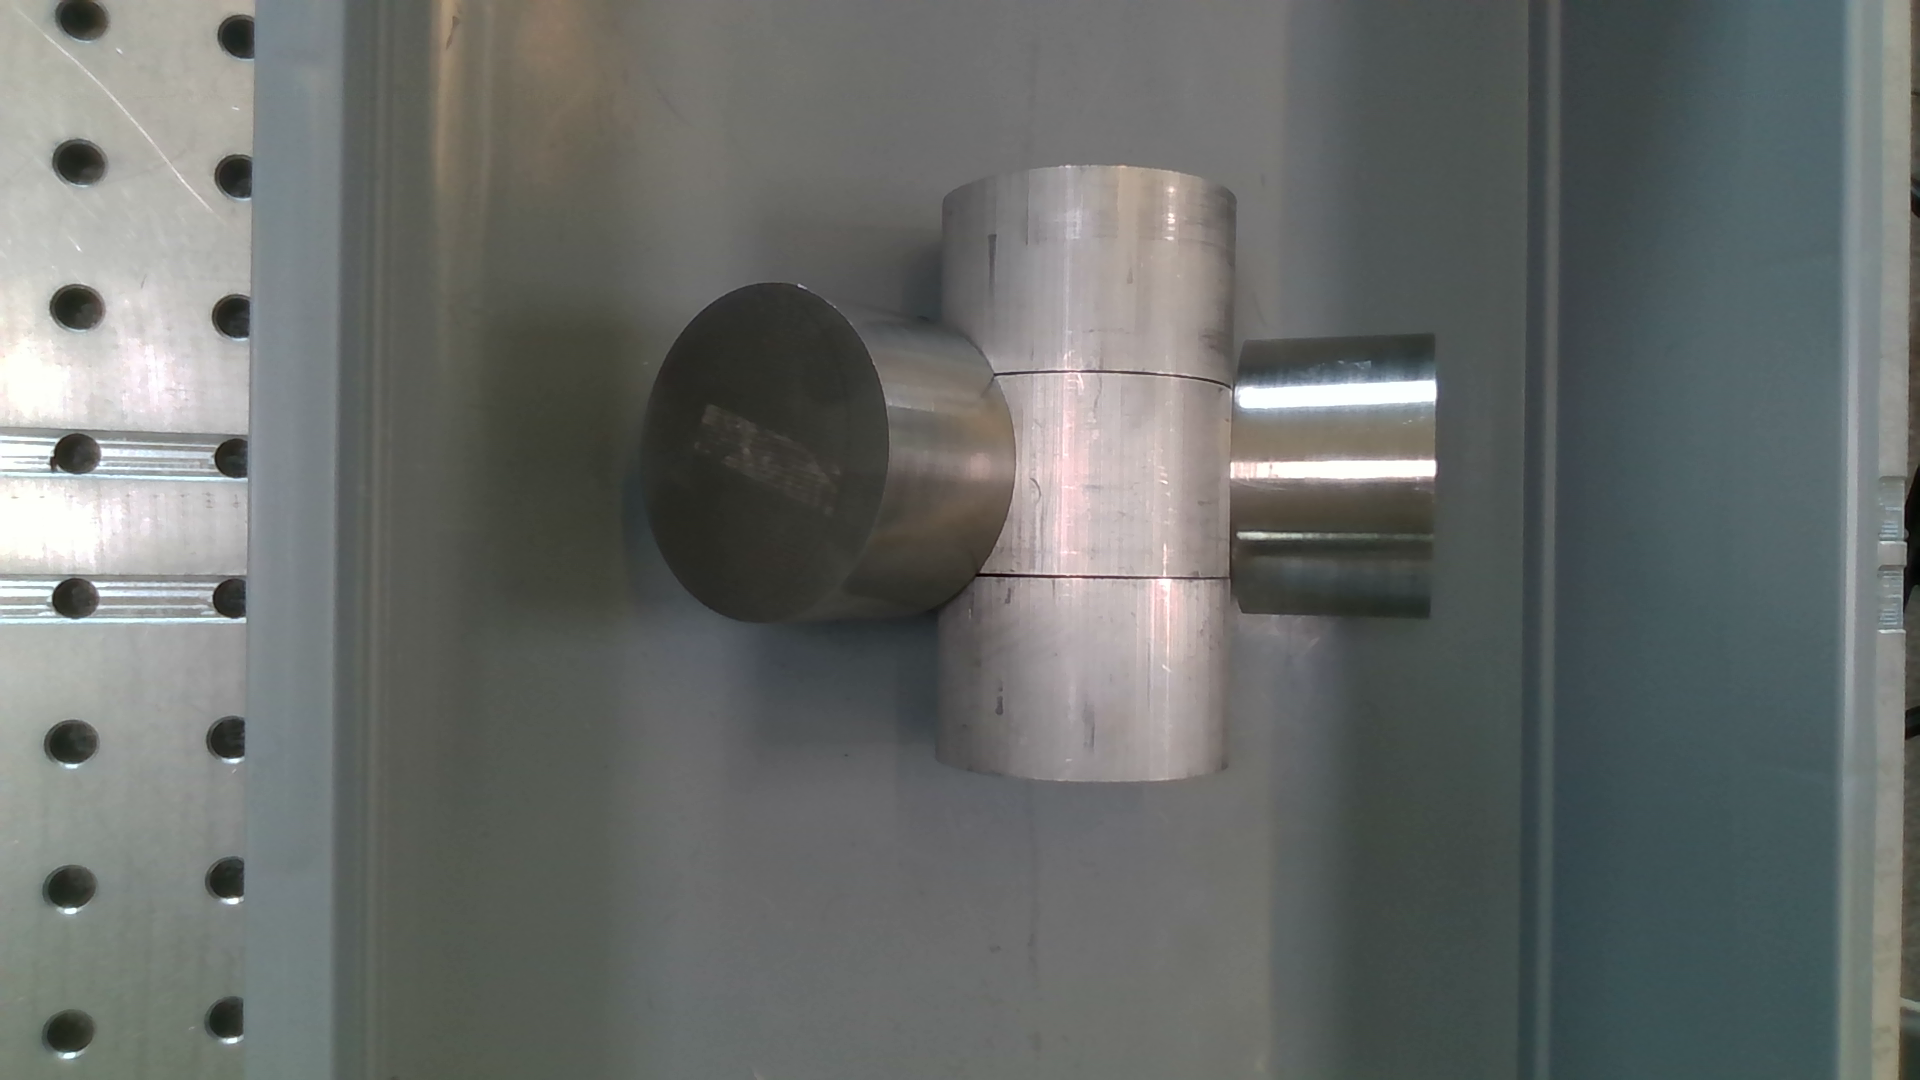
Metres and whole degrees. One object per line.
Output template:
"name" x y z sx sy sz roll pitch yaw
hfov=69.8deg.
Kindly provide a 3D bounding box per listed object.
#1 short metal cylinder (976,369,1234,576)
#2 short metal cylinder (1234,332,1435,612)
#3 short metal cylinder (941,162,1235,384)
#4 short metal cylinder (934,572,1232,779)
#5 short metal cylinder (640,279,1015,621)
"short metal cylinder" 0.034 -0.016 0.376 0.080 0.080 0.050 1 89 -20
"short metal cylinder" 0.109 -0.019 0.396 0.050 0.080 0.080 1 89 18
"short metal cylinder" 0.034 -0.067 0.376 0.080 0.080 0.050 1 89 -20
"short metal cylinder" 0.033 0.034 0.376 0.080 0.080 0.050 1 89 -20
"short metal cylinder" -0.033 -0.021 0.344 0.050 0.080 0.080 0 90 -54
